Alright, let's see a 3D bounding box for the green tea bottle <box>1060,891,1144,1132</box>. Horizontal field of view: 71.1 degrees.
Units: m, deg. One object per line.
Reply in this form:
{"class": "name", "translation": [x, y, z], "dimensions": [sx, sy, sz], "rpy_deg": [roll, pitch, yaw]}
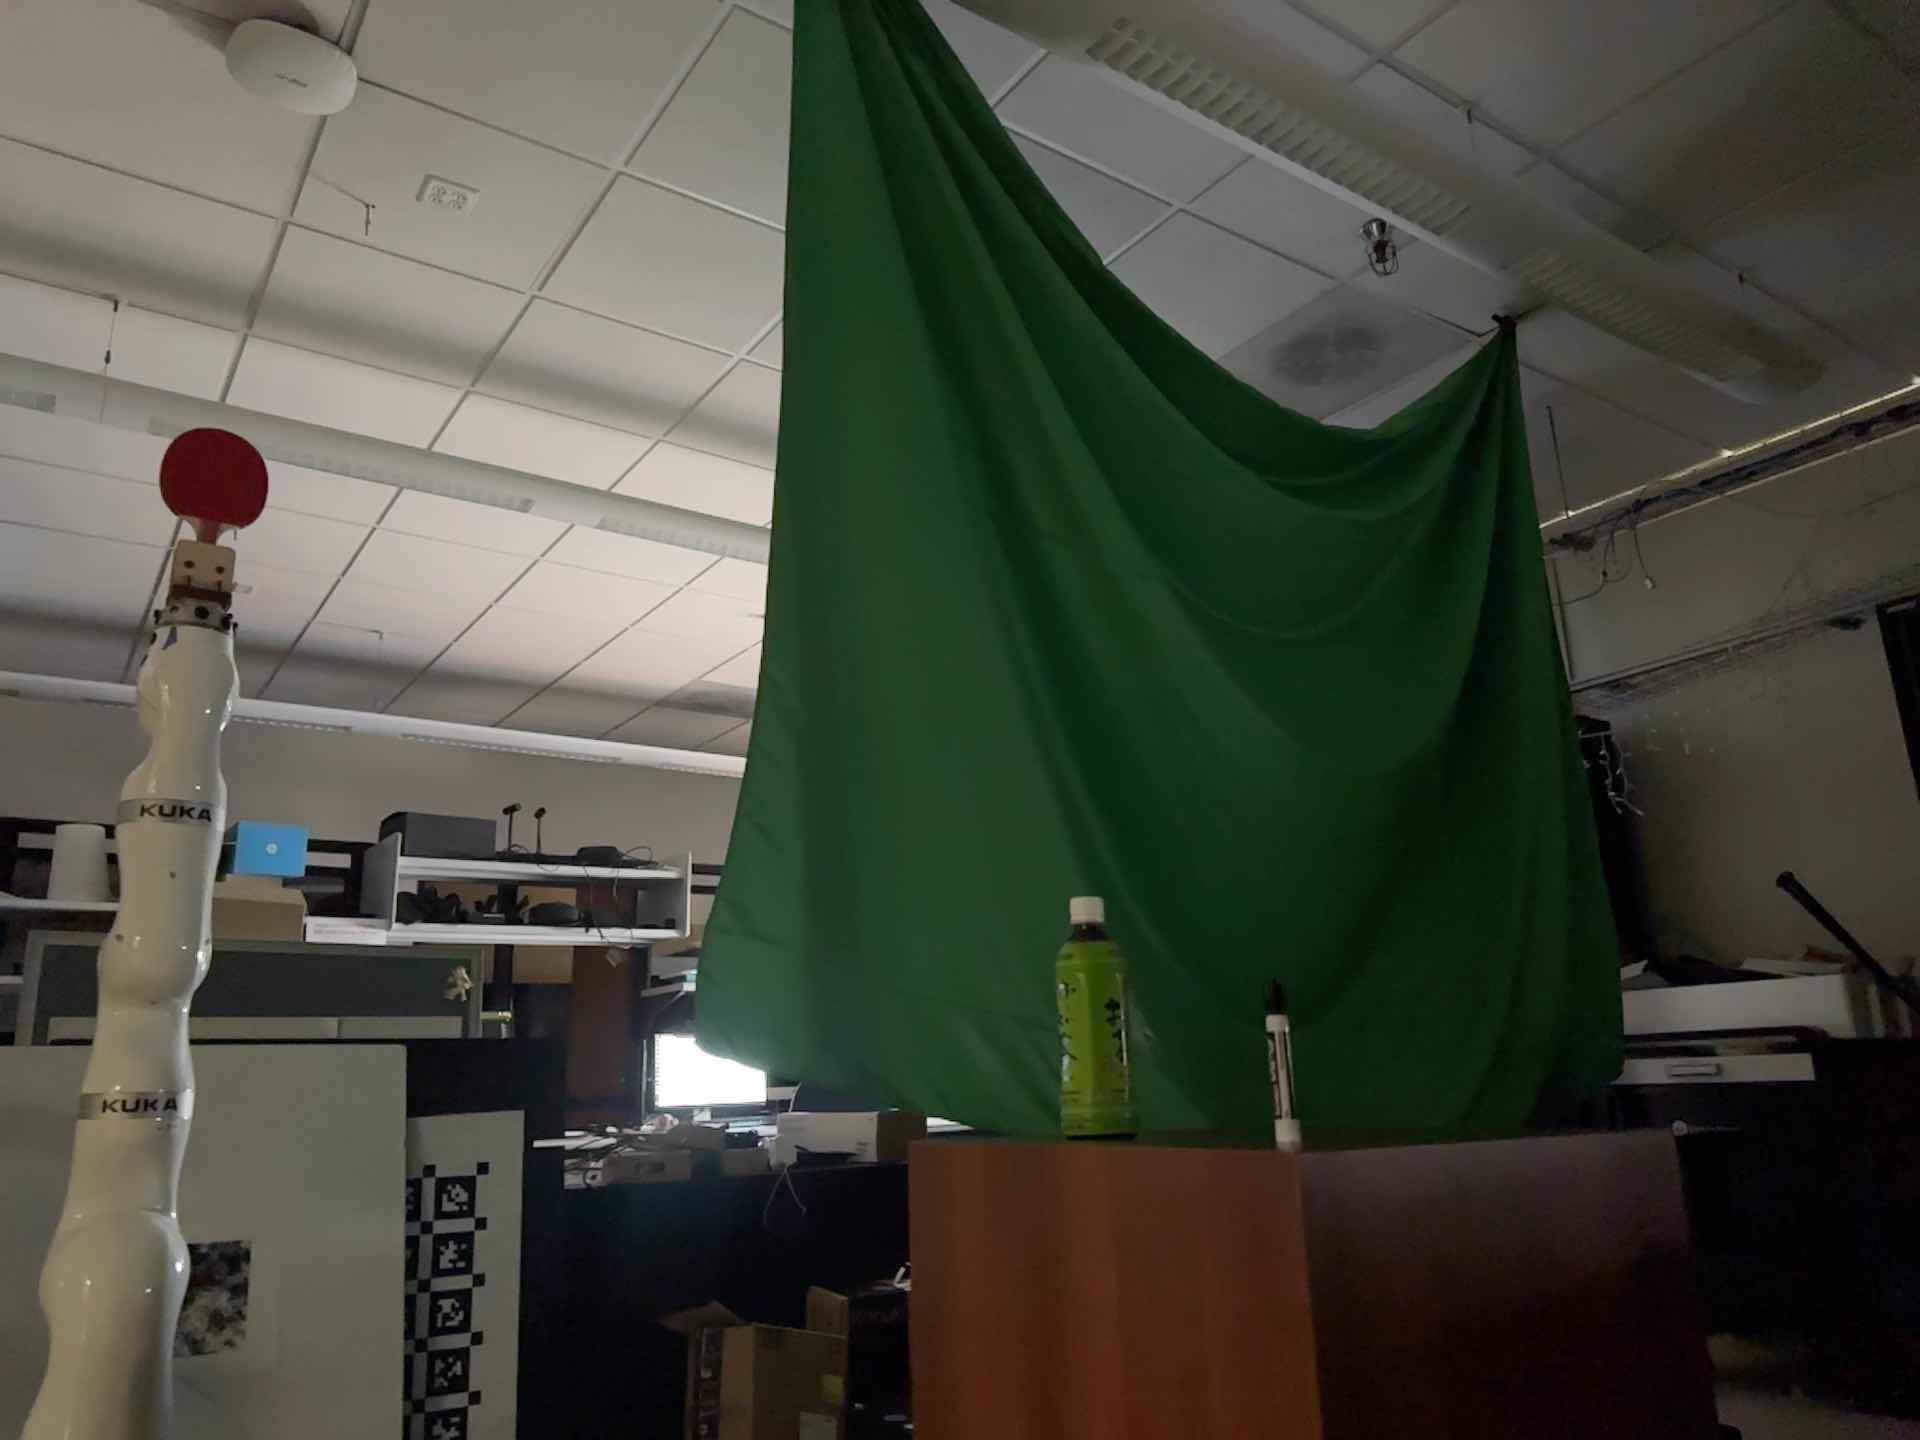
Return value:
{"class": "green tea bottle", "translation": [0.125, 0.261, 1.215], "dimensions": [0.073, 0.212, 0.073], "rpy_deg": [-3, -16, -1]}

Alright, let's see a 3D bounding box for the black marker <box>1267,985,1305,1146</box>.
{"class": "black marker", "translation": [0.254, 0.268, 1.049], "dimensions": [0.020, 0.121, 0.020], "rpy_deg": [-2, -12, 0]}
